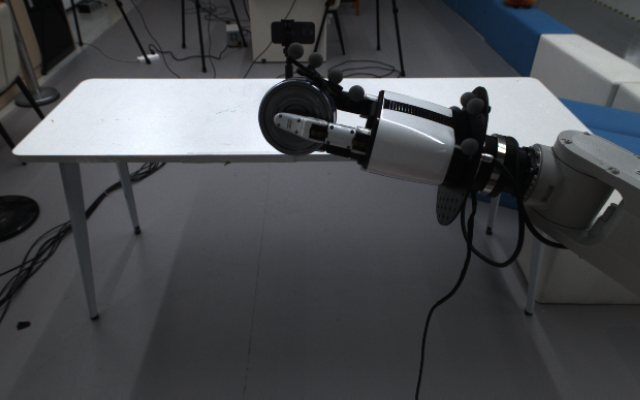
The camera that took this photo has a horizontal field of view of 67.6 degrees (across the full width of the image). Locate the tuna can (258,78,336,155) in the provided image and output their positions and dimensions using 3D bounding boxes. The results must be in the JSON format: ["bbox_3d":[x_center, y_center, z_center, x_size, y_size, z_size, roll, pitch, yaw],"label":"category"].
[{"bbox_3d":[-0.024,-0.095,0.546,0.085,0.085,0.034,6,19,6],"label":"tuna can"}]
